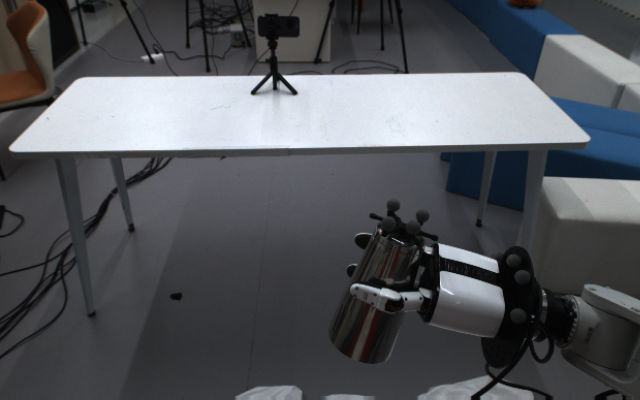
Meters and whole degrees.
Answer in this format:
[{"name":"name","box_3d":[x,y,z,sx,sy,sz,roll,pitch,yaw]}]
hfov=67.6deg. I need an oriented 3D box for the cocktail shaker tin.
[{"name":"cocktail shaker tin","box_3d":[0.080,0.116,0.636,0.093,0.170,0.093,15,22,-6]}]
